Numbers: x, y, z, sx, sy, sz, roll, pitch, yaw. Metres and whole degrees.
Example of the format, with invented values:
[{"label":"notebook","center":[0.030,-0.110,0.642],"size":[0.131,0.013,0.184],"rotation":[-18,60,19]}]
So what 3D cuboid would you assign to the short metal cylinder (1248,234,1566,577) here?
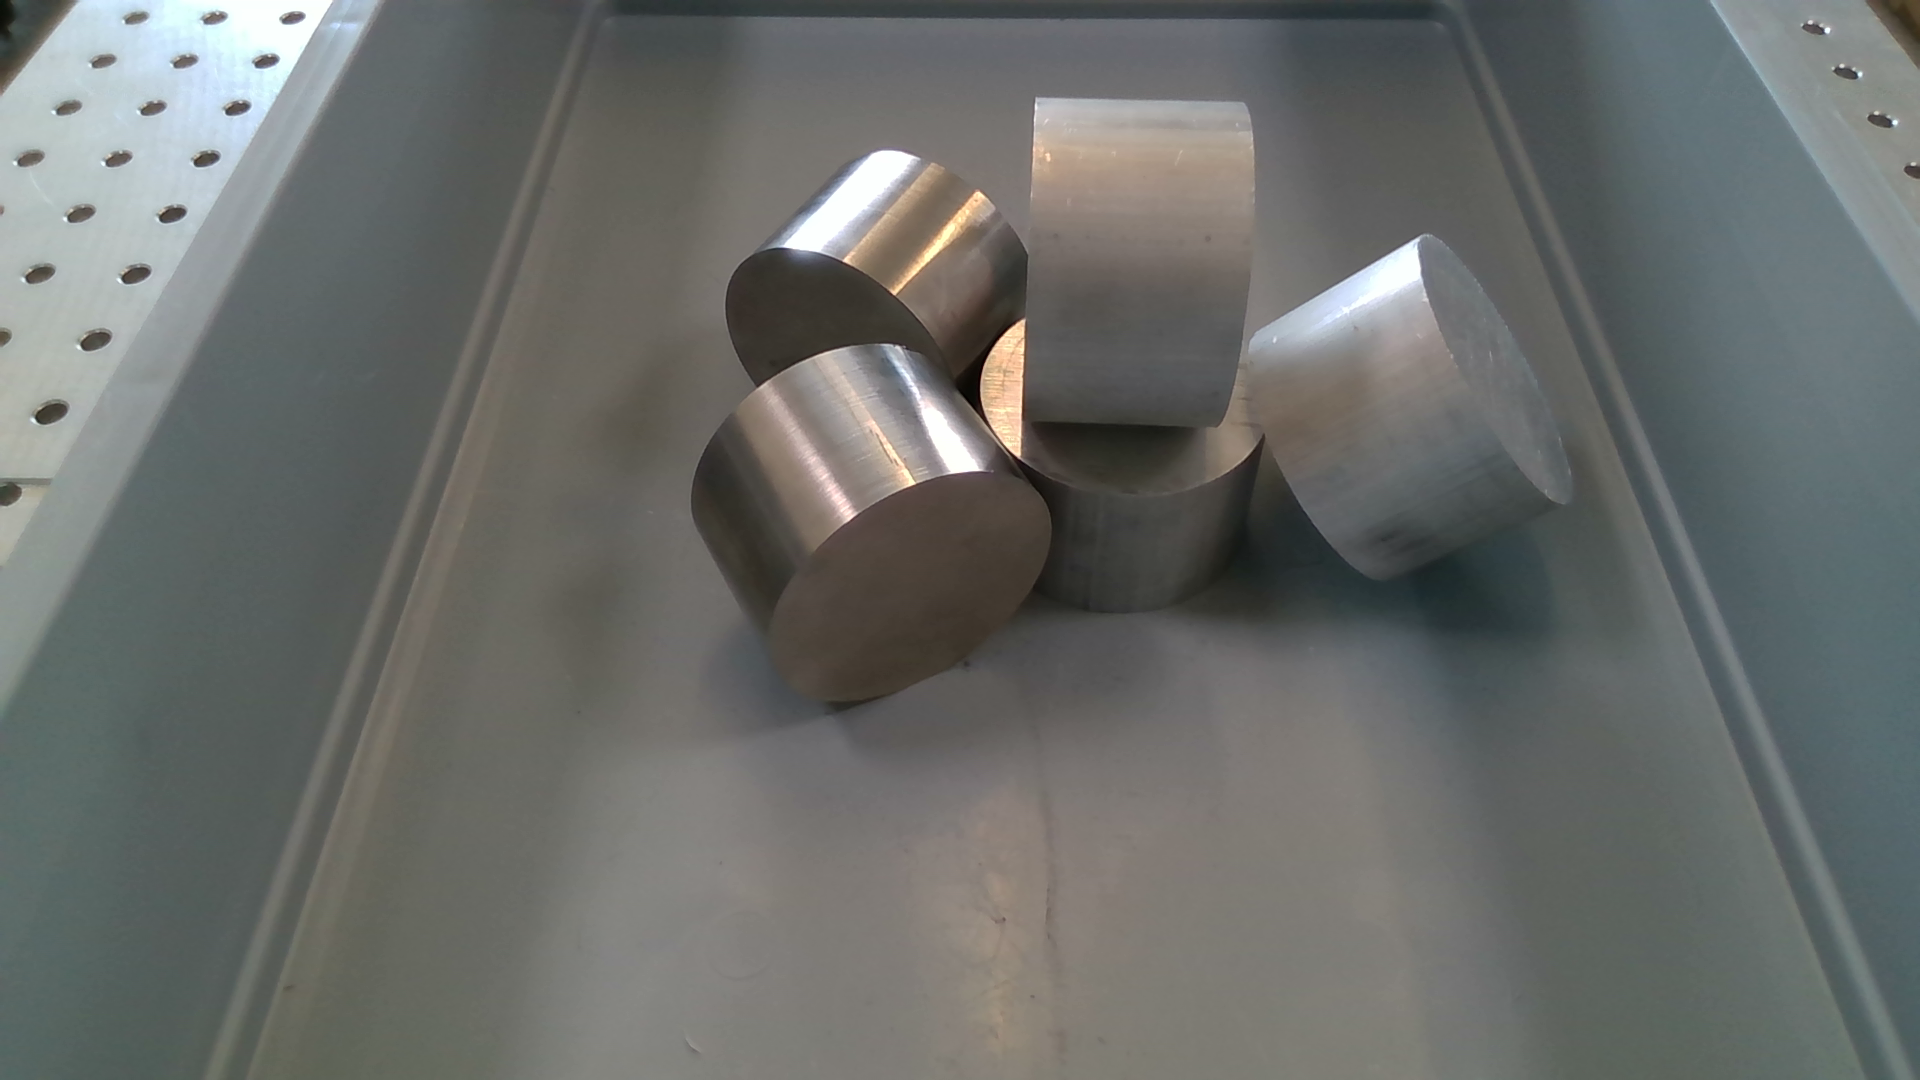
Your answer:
[{"label":"short metal cylinder","center":[0.123,-0.036,0.378],"size":[0.050,0.080,0.080],"rotation":[-28,40,33]}]

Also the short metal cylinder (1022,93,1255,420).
[{"label":"short metal cylinder","center":[0.042,-0.071,0.349],"size":[0.050,0.080,0.080],"rotation":[2,50,2]}]

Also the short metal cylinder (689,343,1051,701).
[{"label":"short metal cylinder","center":[-0.024,-0.004,0.360],"size":[0.080,0.080,0.050],"rotation":[-23,53,-18]}]

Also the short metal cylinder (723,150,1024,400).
[{"label":"short metal cylinder","center":[-0.023,-0.068,0.413],"size":[0.080,0.080,0.050],"rotation":[23,53,18]}]

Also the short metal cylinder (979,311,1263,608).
[{"label":"short metal cylinder","center":[0.045,-0.027,0.397],"size":[0.080,0.050,0.080],"rotation":[0,50,0]}]
